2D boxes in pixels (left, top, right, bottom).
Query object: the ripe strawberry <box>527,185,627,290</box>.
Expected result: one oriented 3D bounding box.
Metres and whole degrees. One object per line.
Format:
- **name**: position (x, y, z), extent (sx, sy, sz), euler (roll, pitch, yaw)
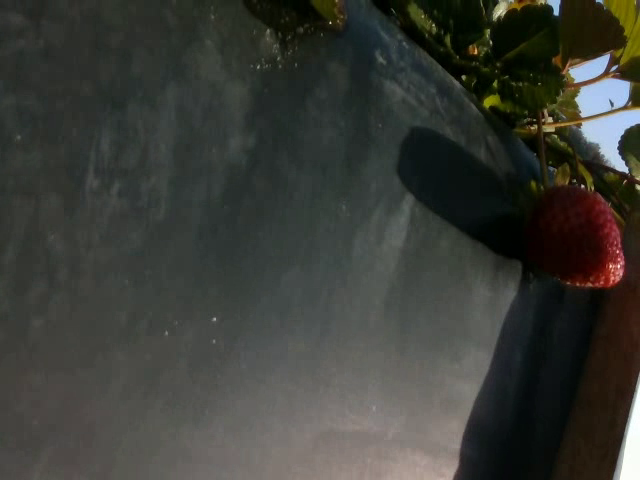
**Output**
- **ripe strawberry**: position (0.066, 0.002, 0.161), extent (0.034, 0.033, 0.038), euler (37, 13, -18)
